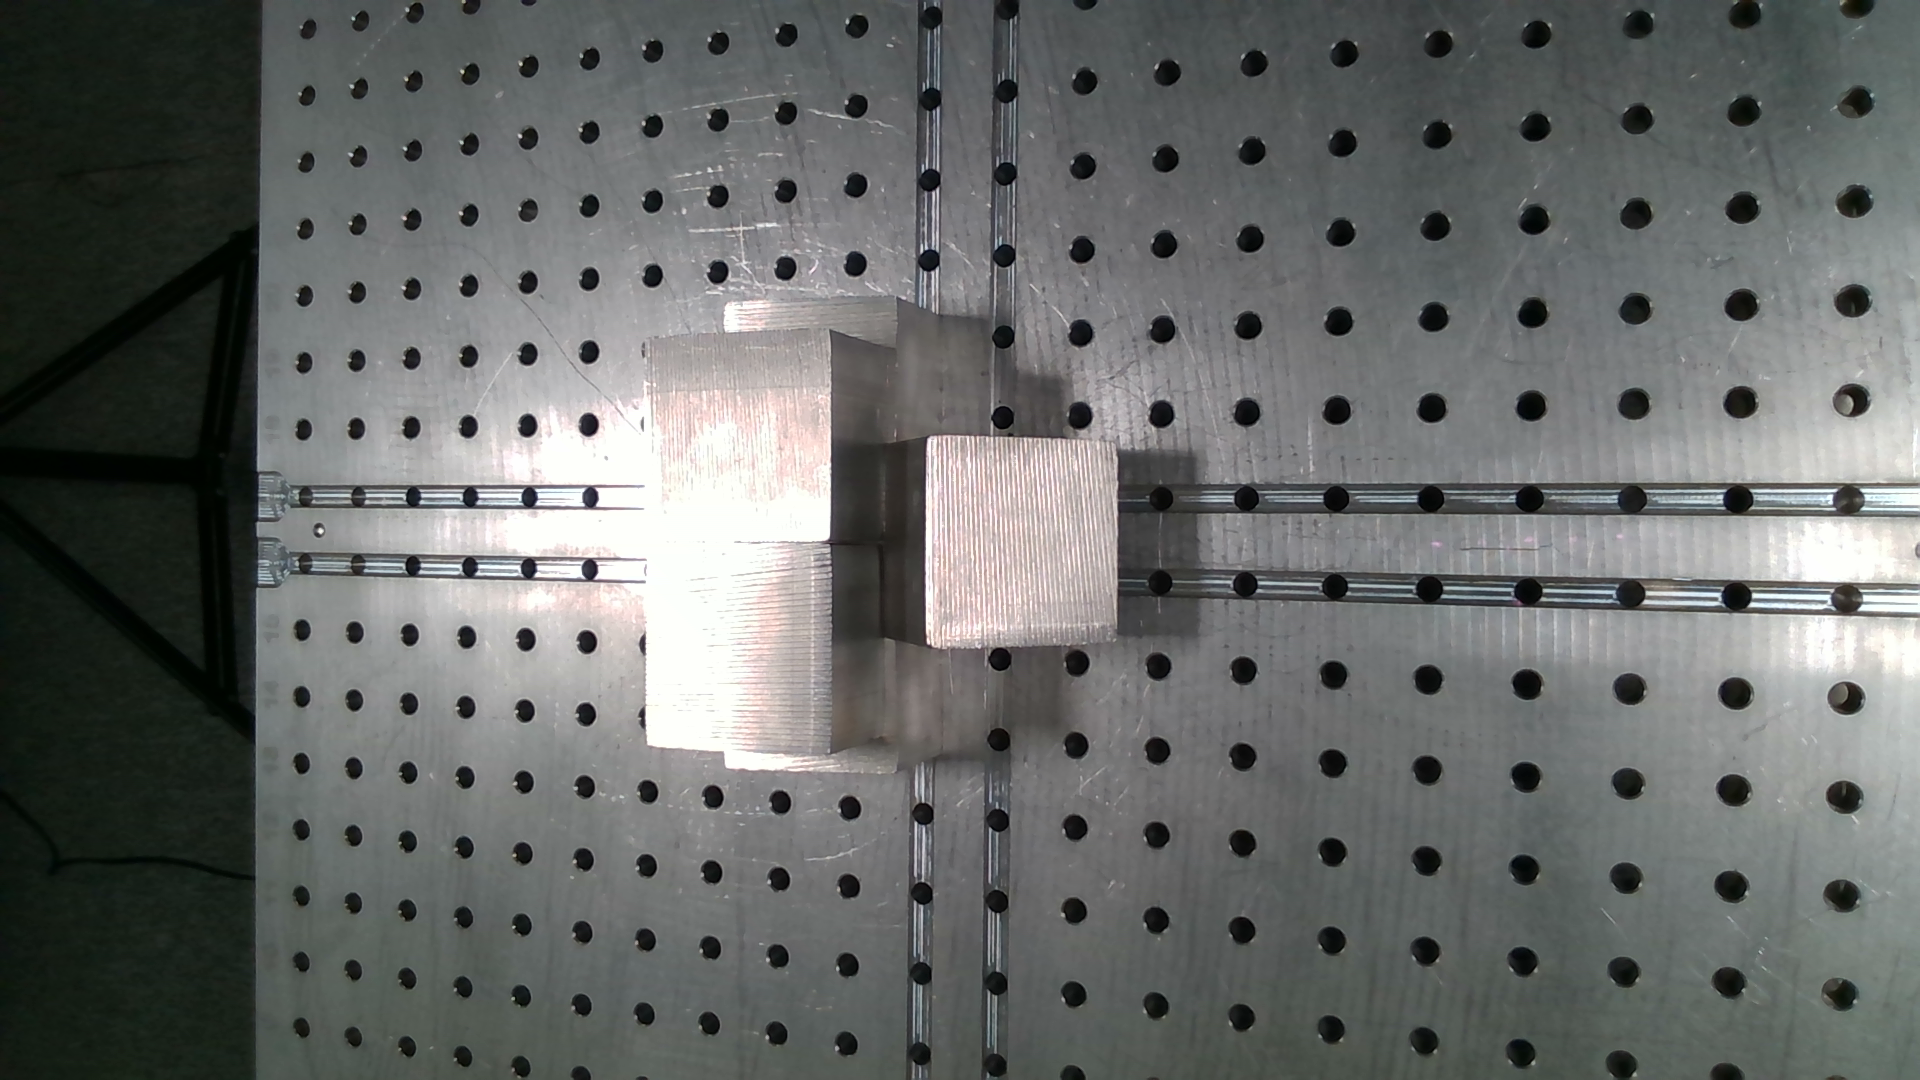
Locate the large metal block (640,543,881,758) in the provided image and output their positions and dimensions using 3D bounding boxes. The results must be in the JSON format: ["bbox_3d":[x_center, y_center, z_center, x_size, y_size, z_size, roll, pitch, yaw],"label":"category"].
[{"bbox_3d":[-0.079,0.041,0.549,0.080,0.050,0.080,0,90,20],"label":"large metal block"}]

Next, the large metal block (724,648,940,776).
[{"bbox_3d":[-0.055,0.056,0.595,0.080,0.050,0.080,-1,90,20],"label":"large metal block"}]

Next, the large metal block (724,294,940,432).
[{"bbox_3d":[-0.055,-0.061,0.595,0.080,0.050,0.080,2,91,20],"label":"large metal block"}]

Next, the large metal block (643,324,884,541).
[{"bbox_3d":[-0.077,-0.040,0.547,0.080,0.050,0.080,0,90,20],"label":"large metal block"}]

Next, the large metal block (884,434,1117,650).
[{"bbox_3d":[0.015,0.001,0.547,0.080,0.050,0.080,0,91,-22],"label":"large metal block"}]
